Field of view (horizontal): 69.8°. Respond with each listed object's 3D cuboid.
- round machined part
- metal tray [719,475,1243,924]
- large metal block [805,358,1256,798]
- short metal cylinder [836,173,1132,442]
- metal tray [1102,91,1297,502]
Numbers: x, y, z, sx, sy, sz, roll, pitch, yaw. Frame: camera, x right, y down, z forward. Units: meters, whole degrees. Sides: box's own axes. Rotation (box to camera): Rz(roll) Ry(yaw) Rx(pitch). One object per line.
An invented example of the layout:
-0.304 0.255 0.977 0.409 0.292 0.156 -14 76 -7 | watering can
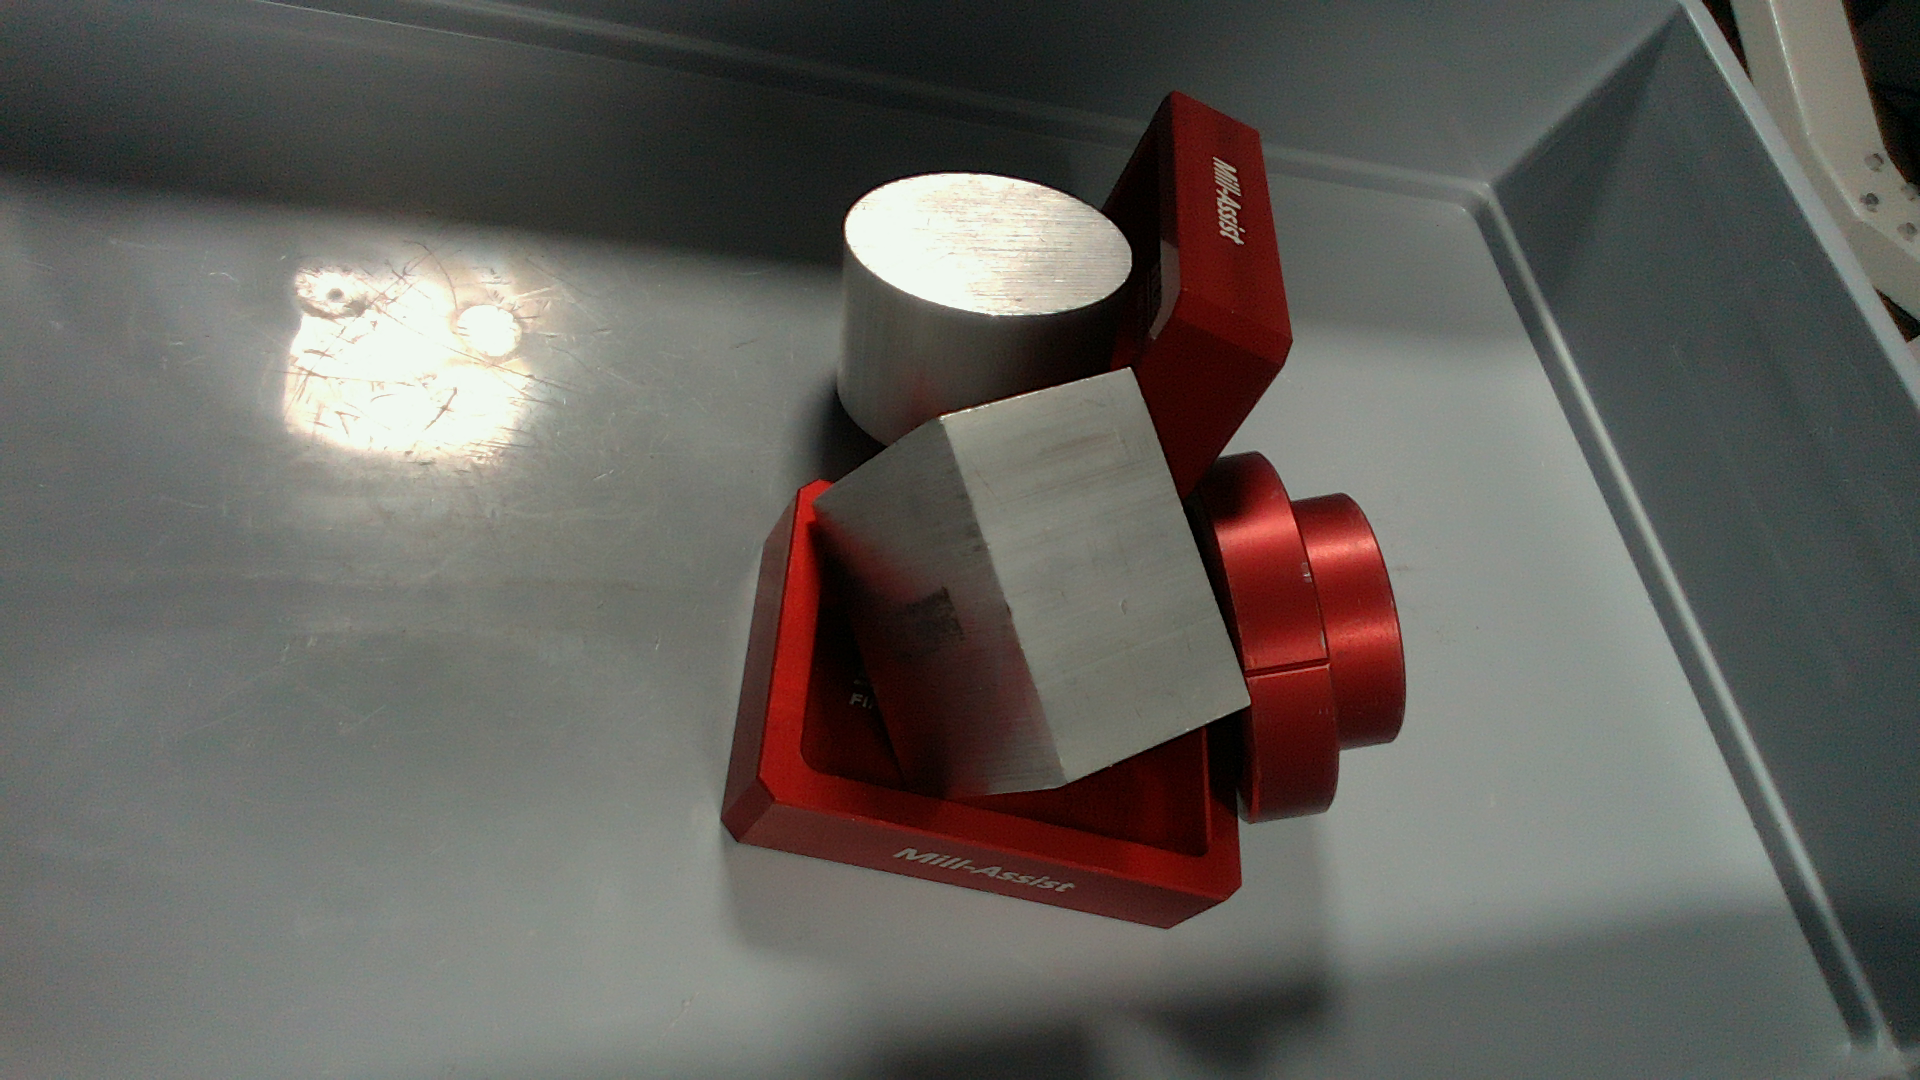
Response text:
0.089 0.024 0.370 0.042 0.098 0.098 -9 62 2 | round machined part
0.009 0.043 0.362 0.130 0.030 0.090 16 55 -19 | metal tray
0.012 0.013 0.322 0.050 0.080 0.080 -18 87 -28 | large metal block
0.005 -0.064 0.395 0.080 0.050 0.080 5 39 -4 | short metal cylinder
0.053 -0.060 0.391 0.030 0.090 0.130 22 38 -11 | metal tray
